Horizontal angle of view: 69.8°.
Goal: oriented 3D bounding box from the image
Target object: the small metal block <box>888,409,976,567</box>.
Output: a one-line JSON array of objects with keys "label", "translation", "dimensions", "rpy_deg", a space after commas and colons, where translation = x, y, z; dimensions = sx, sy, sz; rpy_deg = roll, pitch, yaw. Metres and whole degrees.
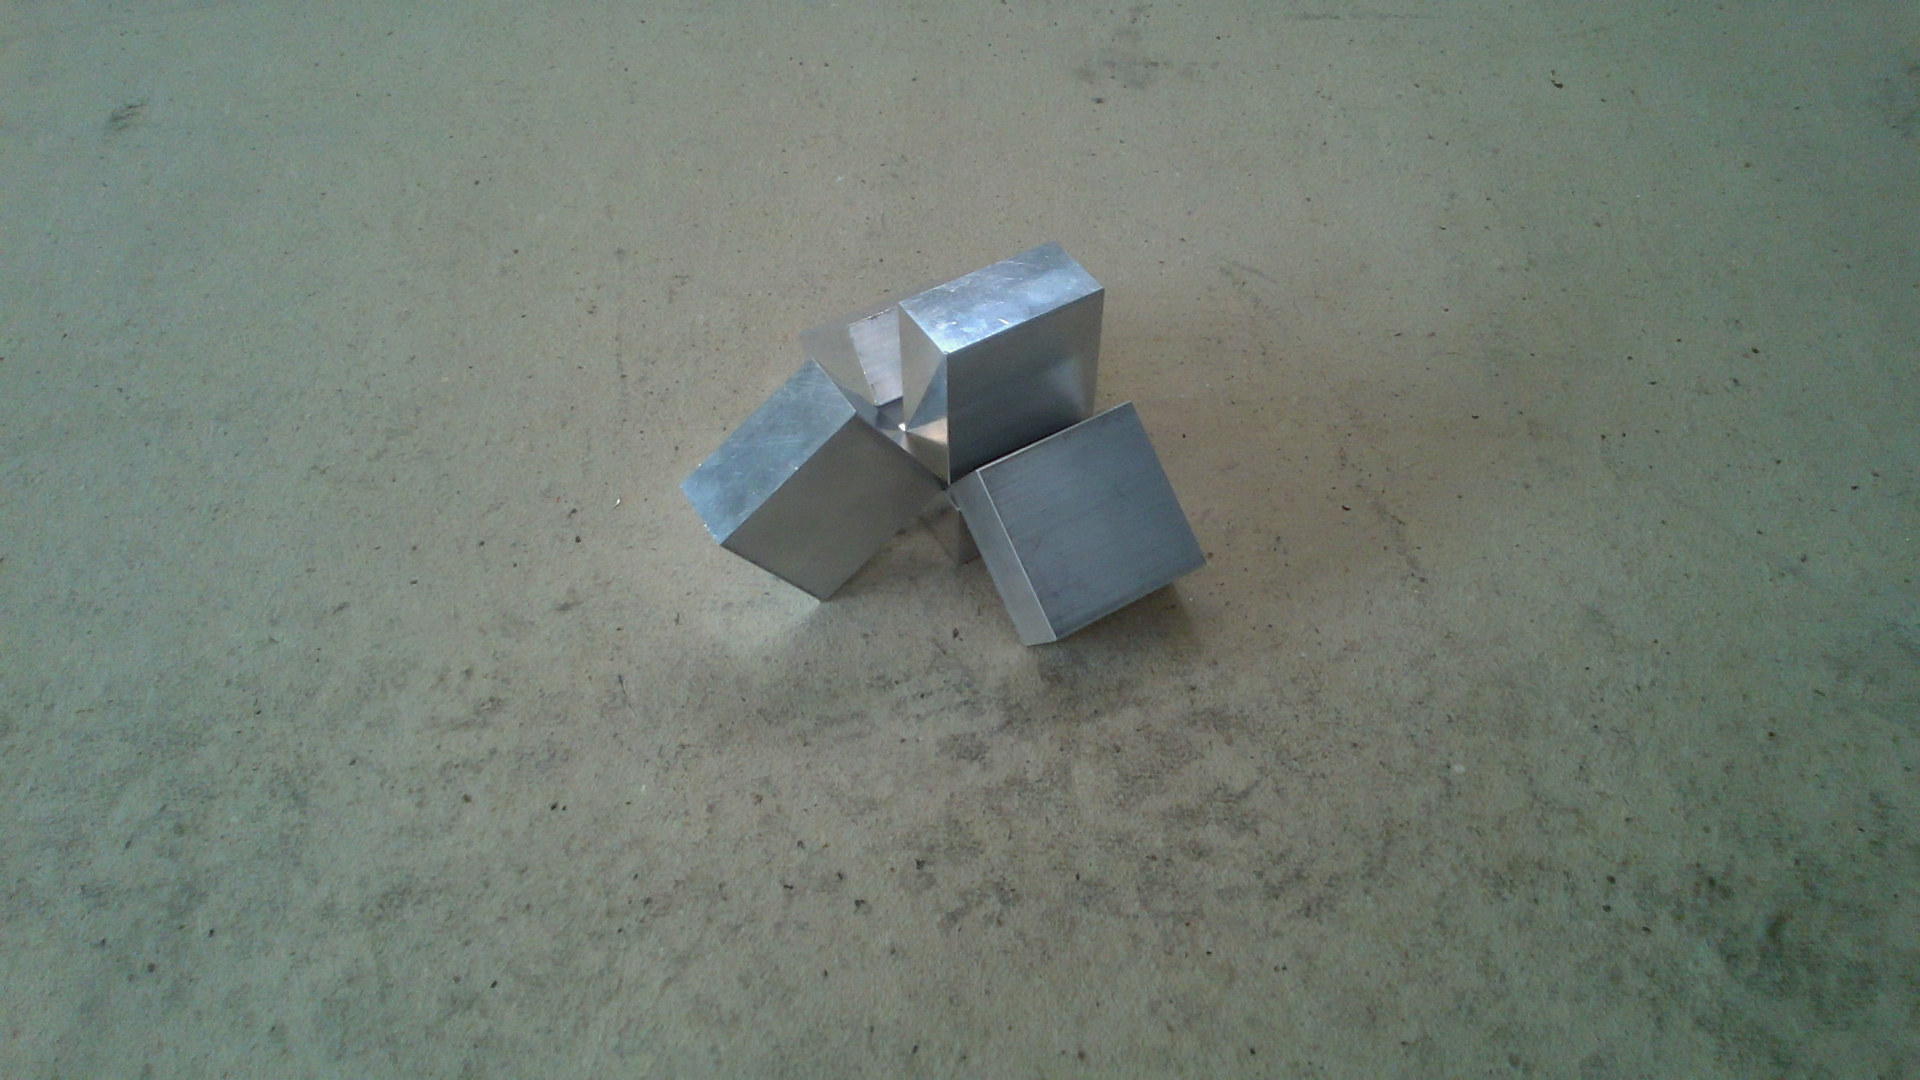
[{"label": "small metal block", "translation": [0.007, -0.027, 0.415], "dimensions": [0.050, 0.025, 0.050], "rpy_deg": [-27, 54, -18]}]

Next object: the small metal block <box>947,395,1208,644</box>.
[{"label": "small metal block", "translation": [0.032, -0.005, 0.380], "dimensions": [0.050, 0.025, 0.050], "rpy_deg": [-26, 91, -20]}]

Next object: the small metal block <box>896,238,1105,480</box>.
[{"label": "small metal block", "translation": [0.011, -0.049, 0.385], "dimensions": [0.050, 0.050, 0.025], "rpy_deg": [-26, 55, -20]}]

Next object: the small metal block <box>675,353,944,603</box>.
[{"label": "small metal block", "translation": [-0.040, -0.015, 0.377], "dimensions": [0.050, 0.050, 0.025], "rpy_deg": [-43, 57, 7]}]

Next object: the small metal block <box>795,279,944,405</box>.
[{"label": "small metal block", "translation": [-0.017, -0.062, 0.428], "dimensions": [0.050, 0.025, 0.050], "rpy_deg": [-25, 14, -19]}]
